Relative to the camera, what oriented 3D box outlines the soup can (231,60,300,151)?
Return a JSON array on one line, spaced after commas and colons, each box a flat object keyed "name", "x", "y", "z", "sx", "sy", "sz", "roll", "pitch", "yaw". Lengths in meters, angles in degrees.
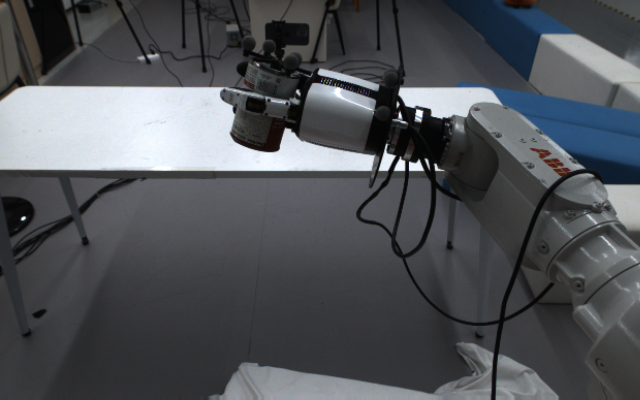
[{"name": "soup can", "x": -0.070, "y": -0.120, "z": 0.617, "sx": 0.067, "sy": 0.101, "sz": 0.067, "roll": 17, "pitch": 21, "yaw": -7}]
